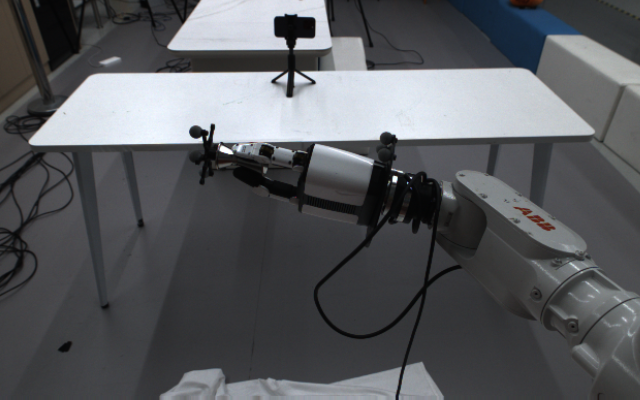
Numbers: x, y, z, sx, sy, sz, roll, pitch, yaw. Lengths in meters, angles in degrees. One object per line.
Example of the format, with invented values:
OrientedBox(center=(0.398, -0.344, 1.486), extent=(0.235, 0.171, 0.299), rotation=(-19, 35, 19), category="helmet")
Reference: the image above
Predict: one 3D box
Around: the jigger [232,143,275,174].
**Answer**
OrientedBox(center=(-0.102, -0.062, 0.686), extent=(0.071, 0.043, 0.043), rotation=(7, 35, 2), category="jigger")
